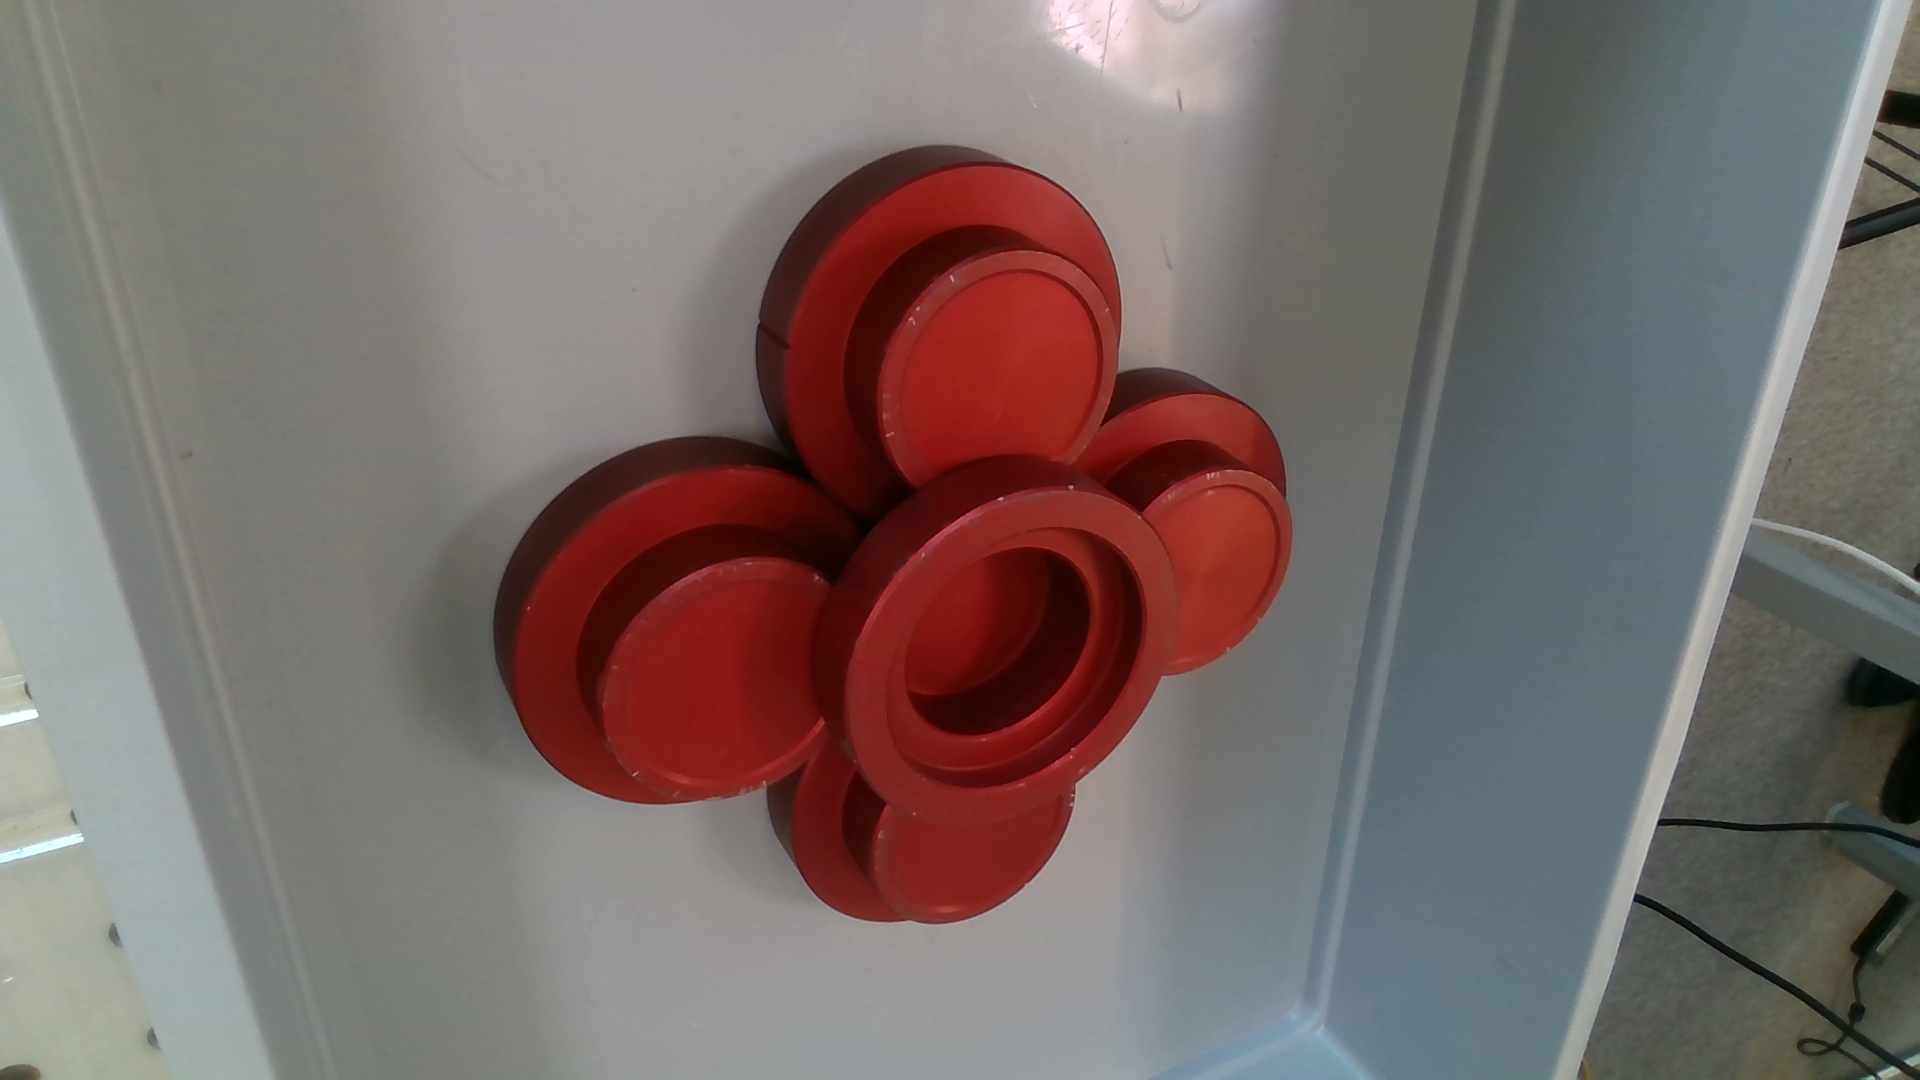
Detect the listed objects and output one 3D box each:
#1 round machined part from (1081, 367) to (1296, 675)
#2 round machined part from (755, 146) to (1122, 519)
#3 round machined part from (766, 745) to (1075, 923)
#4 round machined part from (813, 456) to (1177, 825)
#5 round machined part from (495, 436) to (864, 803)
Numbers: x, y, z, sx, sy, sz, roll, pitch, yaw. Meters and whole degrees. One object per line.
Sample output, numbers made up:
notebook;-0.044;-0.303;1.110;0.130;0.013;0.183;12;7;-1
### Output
round machined part;0.061;0.001;0.414;0.098;0.042;0.098;-14;122;-25
round machined part;0.001;-0.047;0.352;0.098;0.042;0.098;-14;122;-25
round machined part;-0.005;0.075;0.414;0.098;0.042;0.098;-14;122;-25
round machined part;0.006;0.023;0.366;0.098;0.042;0.098;-14;122;-25
round machined part;-0.064;0.027;0.352;0.098;0.042;0.098;-16;123;-26
